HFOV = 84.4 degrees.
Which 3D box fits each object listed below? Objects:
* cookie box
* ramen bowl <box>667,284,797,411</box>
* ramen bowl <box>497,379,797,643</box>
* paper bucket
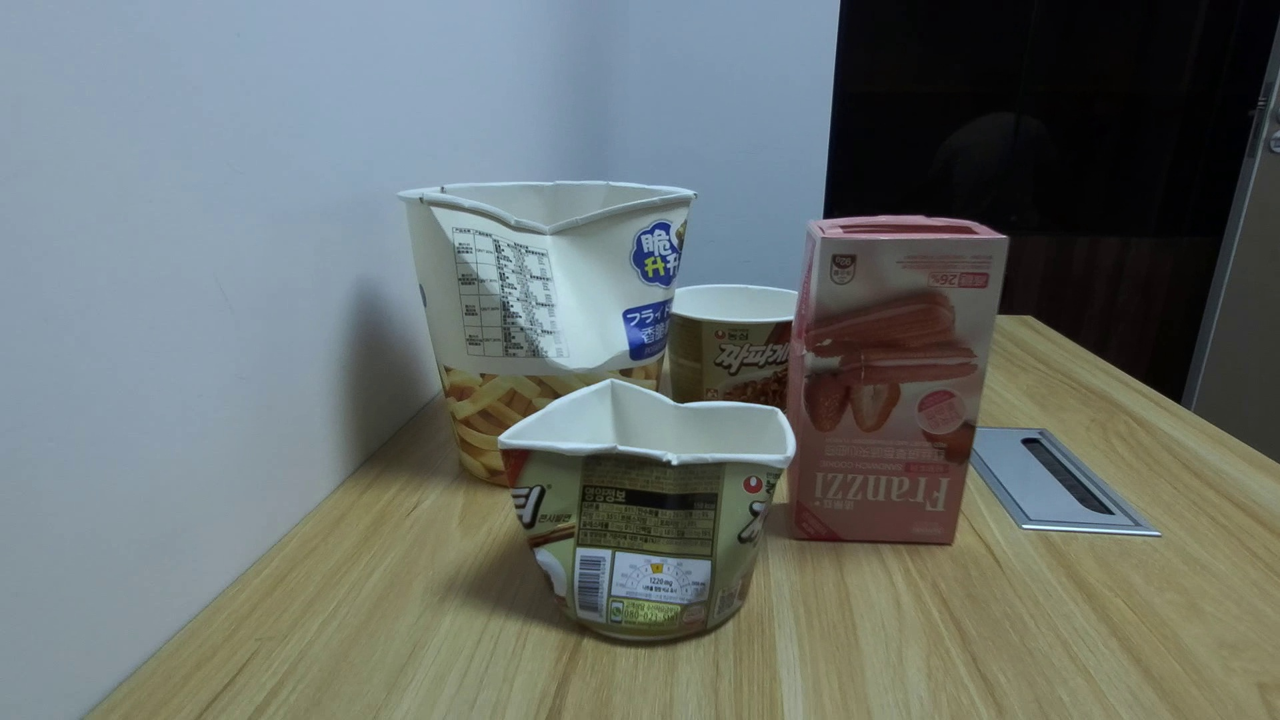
[{"bbox_3d":[0.136,0.014,0.407,0.105,0.187,0.049,2,20,2],"label":"cookie box"},{"bbox_3d":[0.094,-0.007,0.622,0.140,0.095,0.140,-1,18,1],"label":"ramen bowl"},{"bbox_3d":[0.011,0.075,0.368,0.128,0.093,0.112,10,20,26],"label":"ramen bowl"},{"bbox_3d":[-0.072,-0.024,0.511,0.163,0.202,0.168,-18,23,-40],"label":"paper bucket"}]
